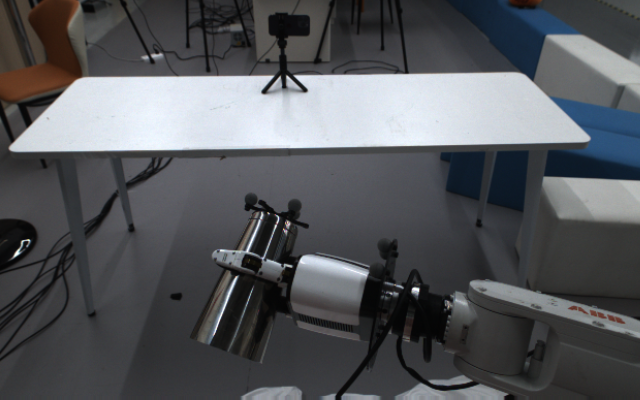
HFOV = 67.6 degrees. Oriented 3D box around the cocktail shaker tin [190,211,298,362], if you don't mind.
[{"bbox_3d":[-0.086,0.104,0.604,0.093,0.093,0.170,13,70,16],"label":"cocktail shaker tin"}]
